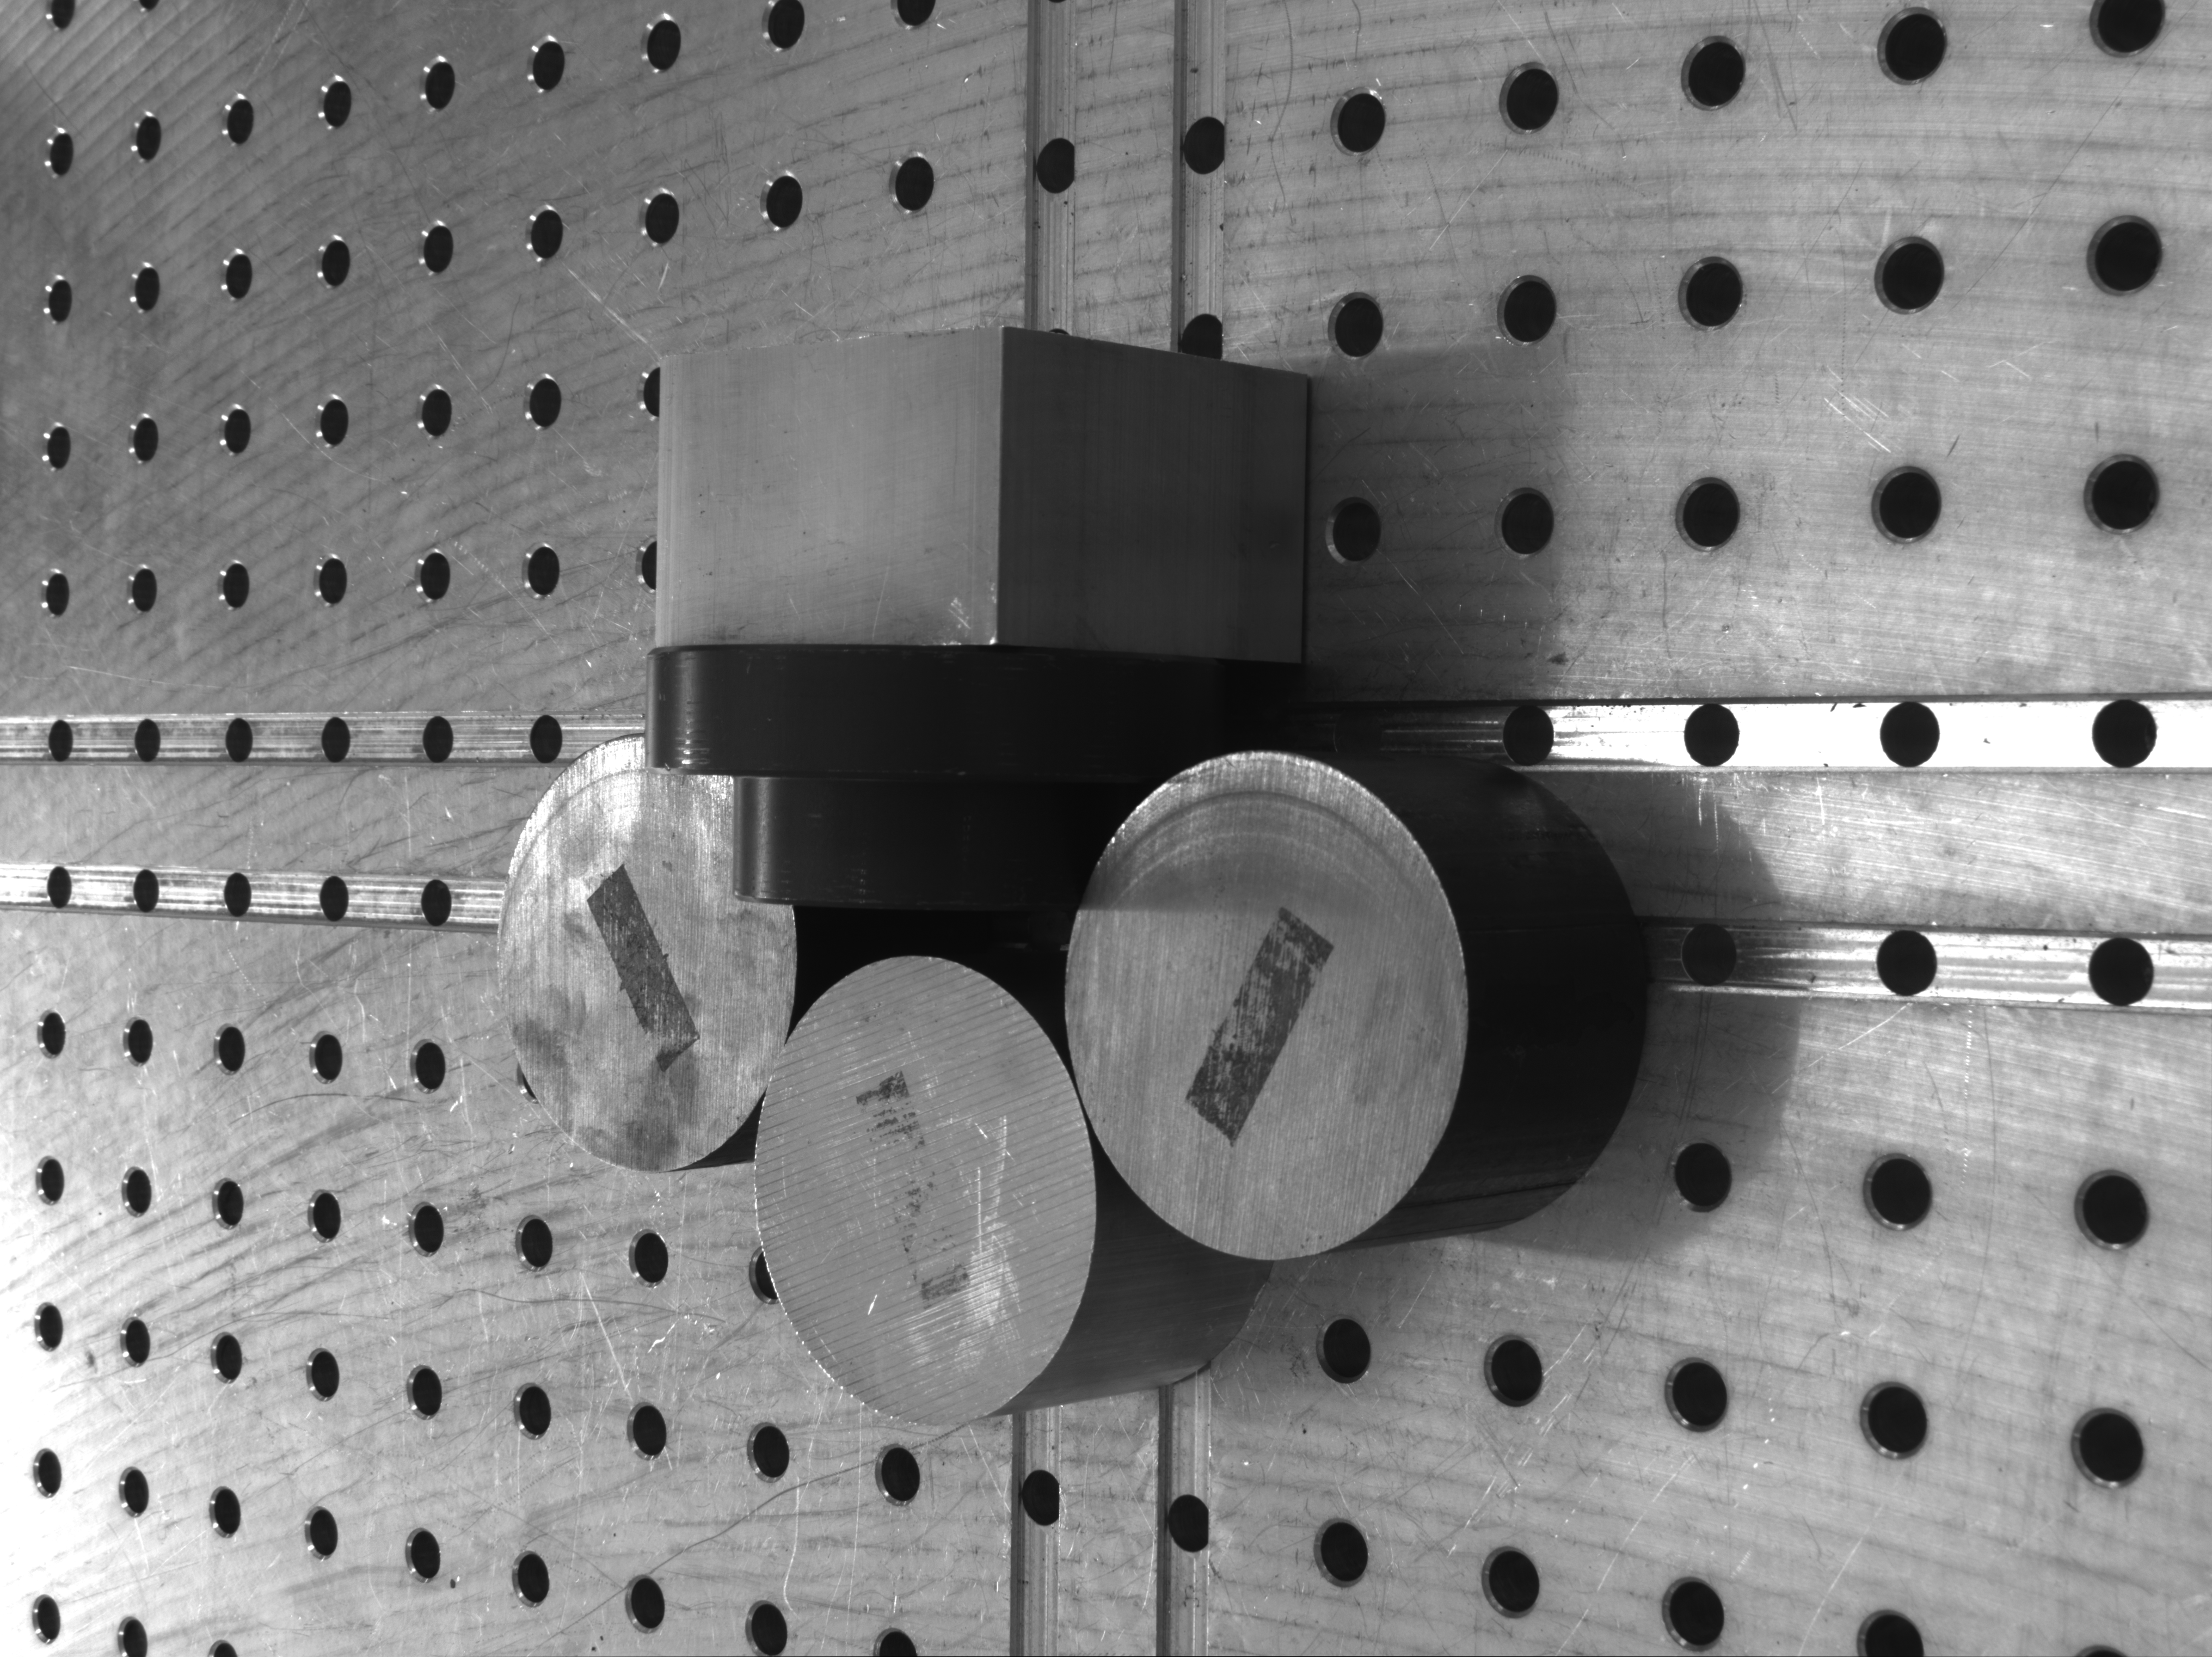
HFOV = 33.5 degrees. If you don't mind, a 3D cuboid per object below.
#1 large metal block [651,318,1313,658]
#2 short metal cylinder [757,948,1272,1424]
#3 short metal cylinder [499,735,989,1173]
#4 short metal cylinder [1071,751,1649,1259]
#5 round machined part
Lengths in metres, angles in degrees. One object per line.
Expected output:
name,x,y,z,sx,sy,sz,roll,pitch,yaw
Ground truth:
large metal block,-0.021,-0.055,0.630,0.080,0.080,0.050,1,90,40
short metal cylinder,-0.015,0.061,0.646,0.080,0.050,0.080,0,90,40
short metal cylinder,-0.068,0.023,0.691,0.080,0.050,0.080,0,90,40
short metal cylinder,0.041,0.028,0.598,0.080,0.050,0.080,0,90,40
round machined part,-0.030,-0.008,0.624,0.098,0.098,0.042,2,91,40
